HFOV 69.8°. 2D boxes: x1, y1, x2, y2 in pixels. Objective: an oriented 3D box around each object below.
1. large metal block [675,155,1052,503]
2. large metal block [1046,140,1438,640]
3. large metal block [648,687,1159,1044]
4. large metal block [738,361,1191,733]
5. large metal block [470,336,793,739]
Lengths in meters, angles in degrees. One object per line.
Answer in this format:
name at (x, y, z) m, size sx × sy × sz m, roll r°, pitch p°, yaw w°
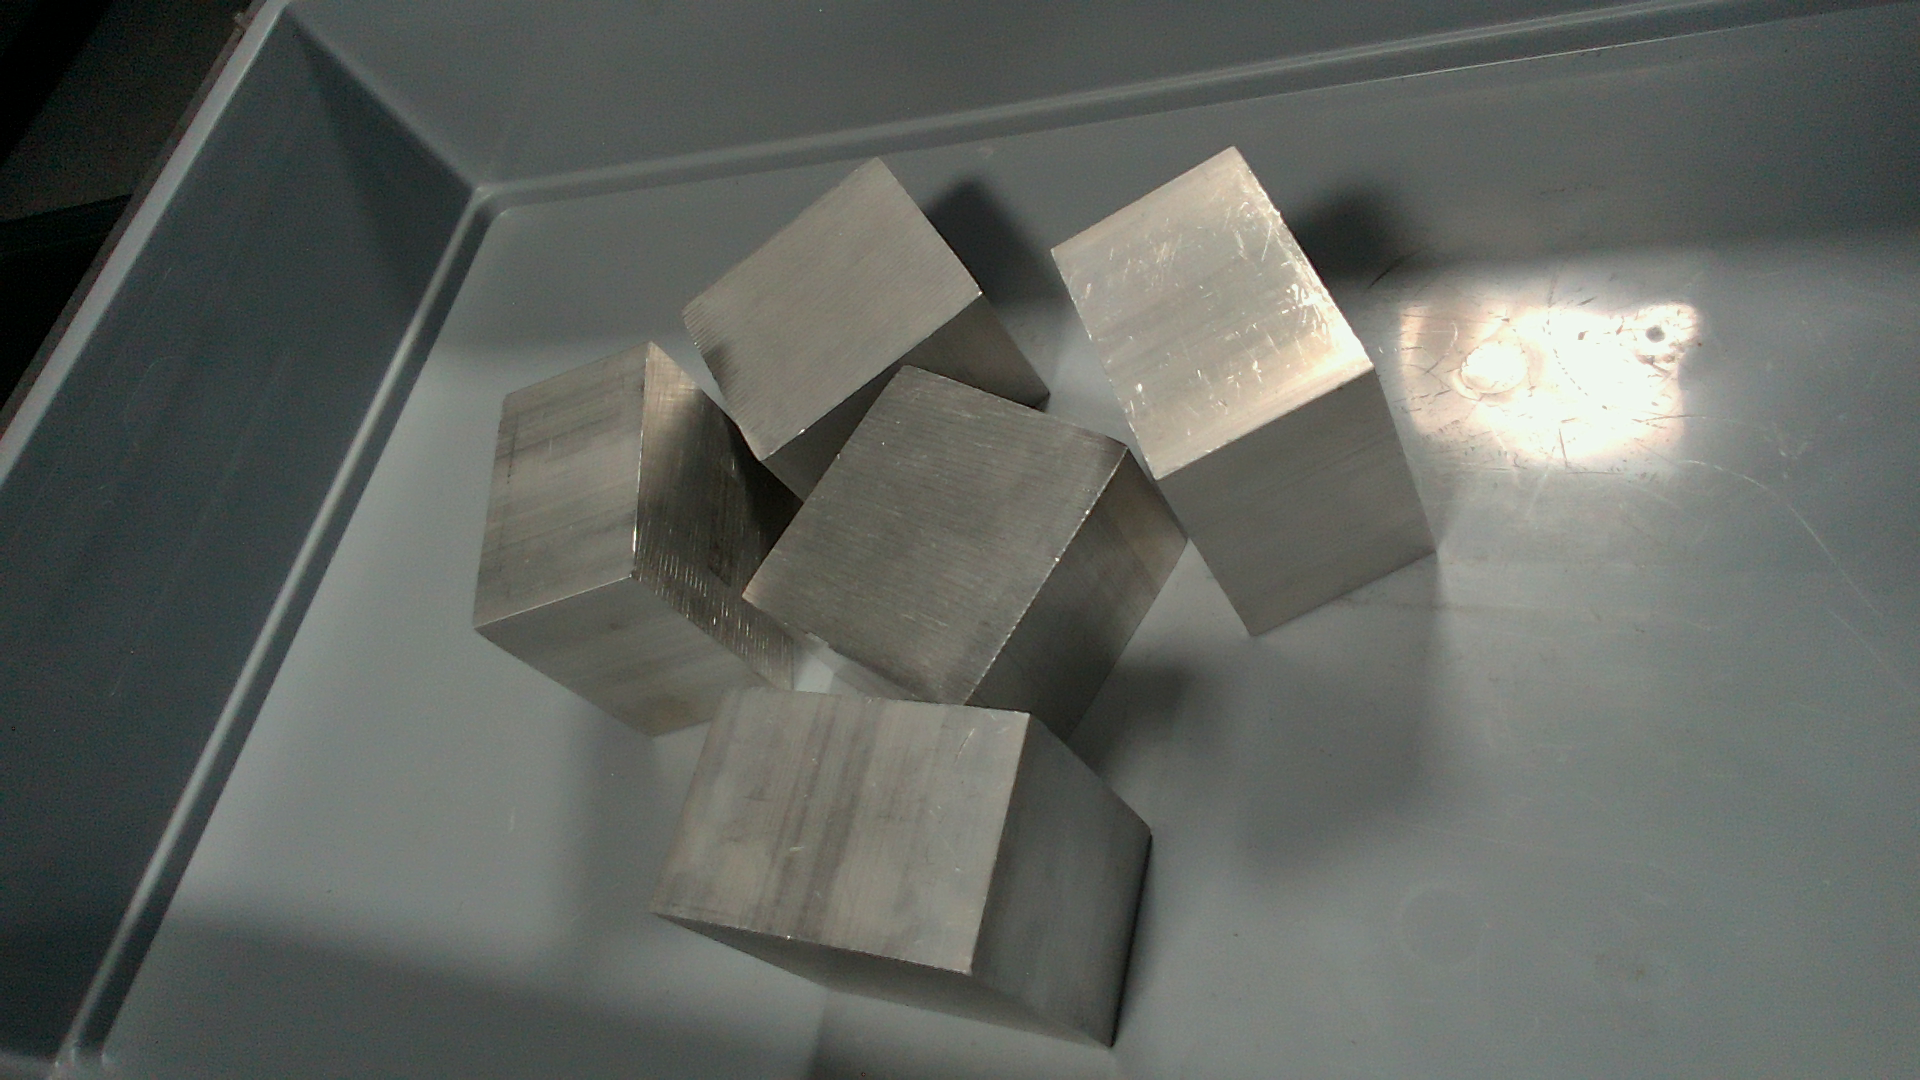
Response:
large metal block at (-0.031, -0.060, 0.430) m, size 0.080 × 0.050 × 0.080 m, roll -36°, pitch 51°, yaw 4°
large metal block at (0.070, -0.035, 0.340) m, size 0.050 × 0.080 × 0.080 m, roll -28°, pitch 52°, yaw 11°
large metal block at (-0.009, 0.075, 0.316) m, size 0.080 × 0.080 × 0.050 m, roll 1°, pitch 62°, yaw 29°
large metal block at (0.002, 0.008, 0.371) m, size 0.080 × 0.050 × 0.080 m, roll 25°, pitch 75°, yaw 37°
large metal block at (-0.092, 0.002, 0.406) m, size 0.050 × 0.080 × 0.080 m, roll -18°, pitch 55°, yaw 19°
